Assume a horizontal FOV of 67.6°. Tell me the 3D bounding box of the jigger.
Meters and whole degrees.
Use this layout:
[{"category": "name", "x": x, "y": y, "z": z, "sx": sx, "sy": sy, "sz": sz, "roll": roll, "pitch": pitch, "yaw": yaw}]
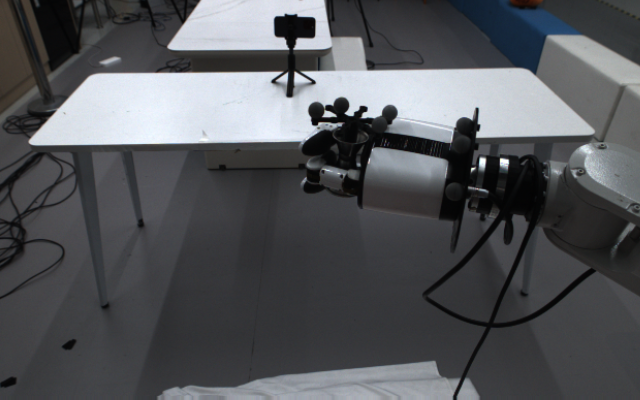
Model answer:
[{"category": "jigger", "x": 0.035, "y": -0.044, "z": 0.557, "sx": 0.043, "sy": 0.071, "sz": 0.043, "roll": 4, "pitch": 31, "yaw": -2}]
